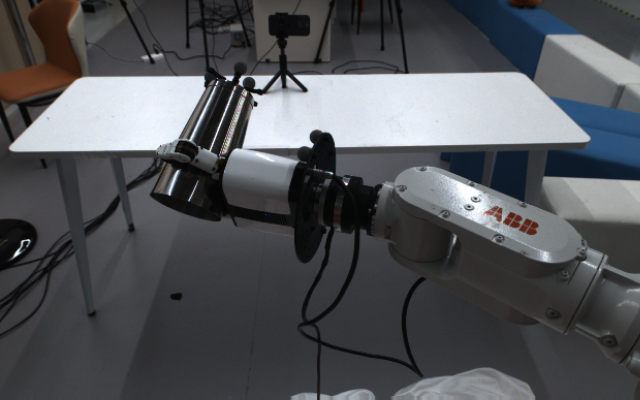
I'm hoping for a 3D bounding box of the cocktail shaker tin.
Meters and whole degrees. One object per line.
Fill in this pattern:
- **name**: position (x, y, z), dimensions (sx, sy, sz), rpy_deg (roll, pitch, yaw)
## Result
- **cocktail shaker tin**: position (-0.147, -0.067, 0.629), dimensions (0.093, 0.093, 0.170), rpy_deg (13, 72, 16)
